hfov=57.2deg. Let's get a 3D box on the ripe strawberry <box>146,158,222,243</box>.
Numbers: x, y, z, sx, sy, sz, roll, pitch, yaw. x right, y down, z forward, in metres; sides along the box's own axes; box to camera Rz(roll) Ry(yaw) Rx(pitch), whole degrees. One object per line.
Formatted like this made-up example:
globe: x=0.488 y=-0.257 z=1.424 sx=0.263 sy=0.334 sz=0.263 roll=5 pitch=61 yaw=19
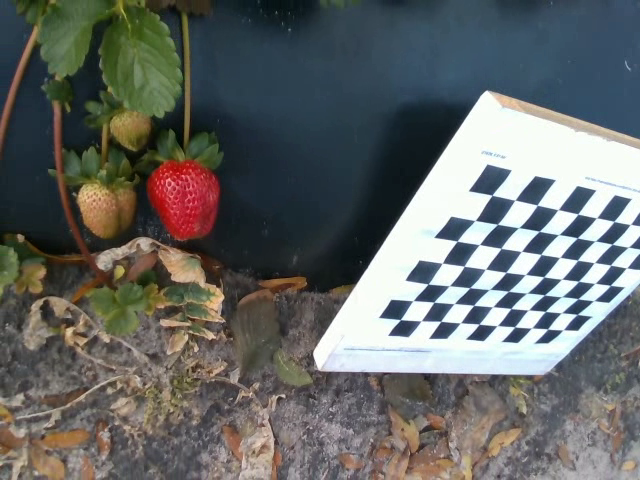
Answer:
ripe strawberry: x=-0.091 y=-0.022 z=0.391 sx=0.066 sy=0.075 sz=0.053 roll=-7 pitch=46 yaw=-16
